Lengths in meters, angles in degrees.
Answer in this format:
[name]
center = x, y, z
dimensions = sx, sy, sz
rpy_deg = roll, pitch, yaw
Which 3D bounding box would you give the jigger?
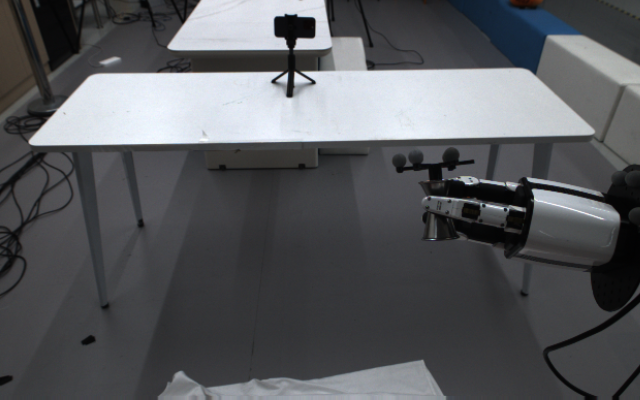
[jigger]
center = 0.136, 0.010, 0.562
dimensions = 0.043, 0.071, 0.043
rpy_deg = -4, 1, 0
